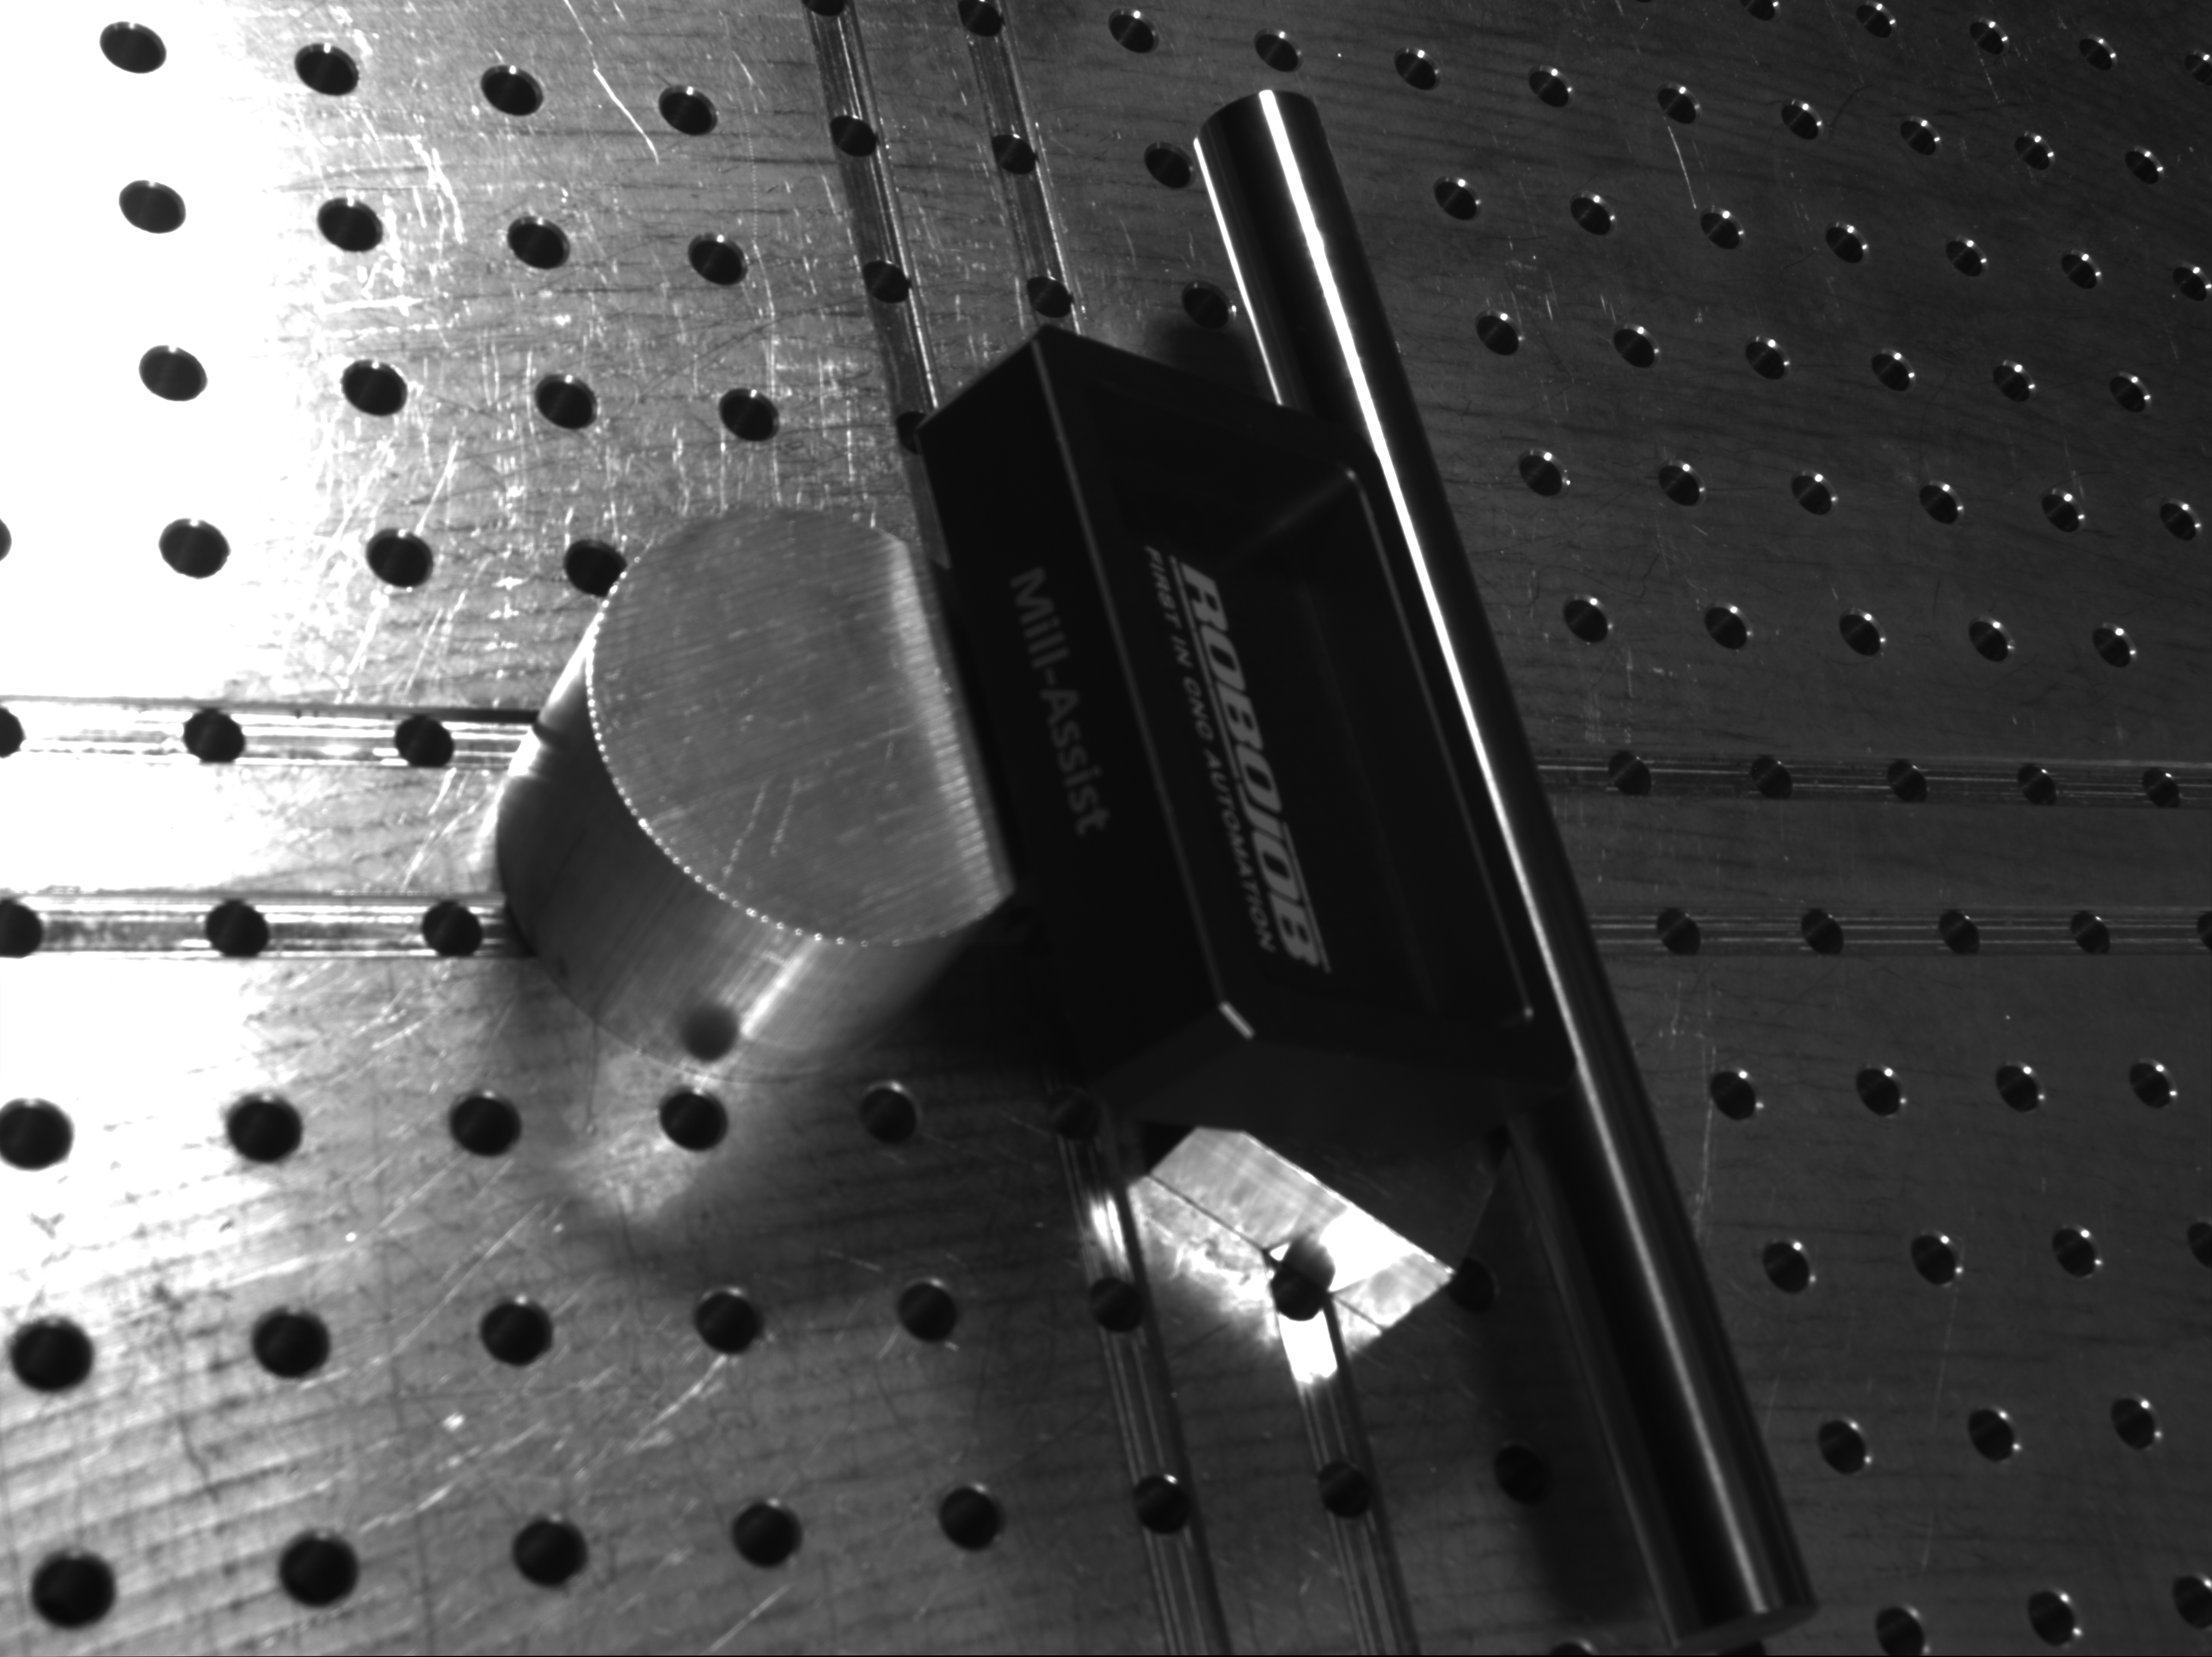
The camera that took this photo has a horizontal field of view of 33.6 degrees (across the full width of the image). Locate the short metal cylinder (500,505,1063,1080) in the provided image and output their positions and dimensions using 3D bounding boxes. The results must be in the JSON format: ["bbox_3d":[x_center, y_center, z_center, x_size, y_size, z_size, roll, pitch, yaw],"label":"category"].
[{"bbox_3d":[-0.053,-0.006,0.601,0.080,0.050,0.080,14,56,-21],"label":"short metal cylinder"}]

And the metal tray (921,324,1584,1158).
[{"bbox_3d":[0.024,-0.013,0.610,0.090,0.030,0.130,11,55,-45],"label":"metal tray"}]

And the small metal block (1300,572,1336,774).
[{"bbox_3d":[0.033,-0.027,0.677,0.050,0.025,0.050,-16,70,-34],"label":"small metal block"}]

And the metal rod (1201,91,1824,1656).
[{"bbox_3d":[0.067,-0.003,0.648,0.025,0.025,0.300,-1,62,-29],"label":"metal rod"}]

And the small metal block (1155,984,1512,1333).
[{"bbox_3d":[0.044,0.050,0.634,0.050,0.025,0.050,34,51,-6],"label":"small metal block"}]
